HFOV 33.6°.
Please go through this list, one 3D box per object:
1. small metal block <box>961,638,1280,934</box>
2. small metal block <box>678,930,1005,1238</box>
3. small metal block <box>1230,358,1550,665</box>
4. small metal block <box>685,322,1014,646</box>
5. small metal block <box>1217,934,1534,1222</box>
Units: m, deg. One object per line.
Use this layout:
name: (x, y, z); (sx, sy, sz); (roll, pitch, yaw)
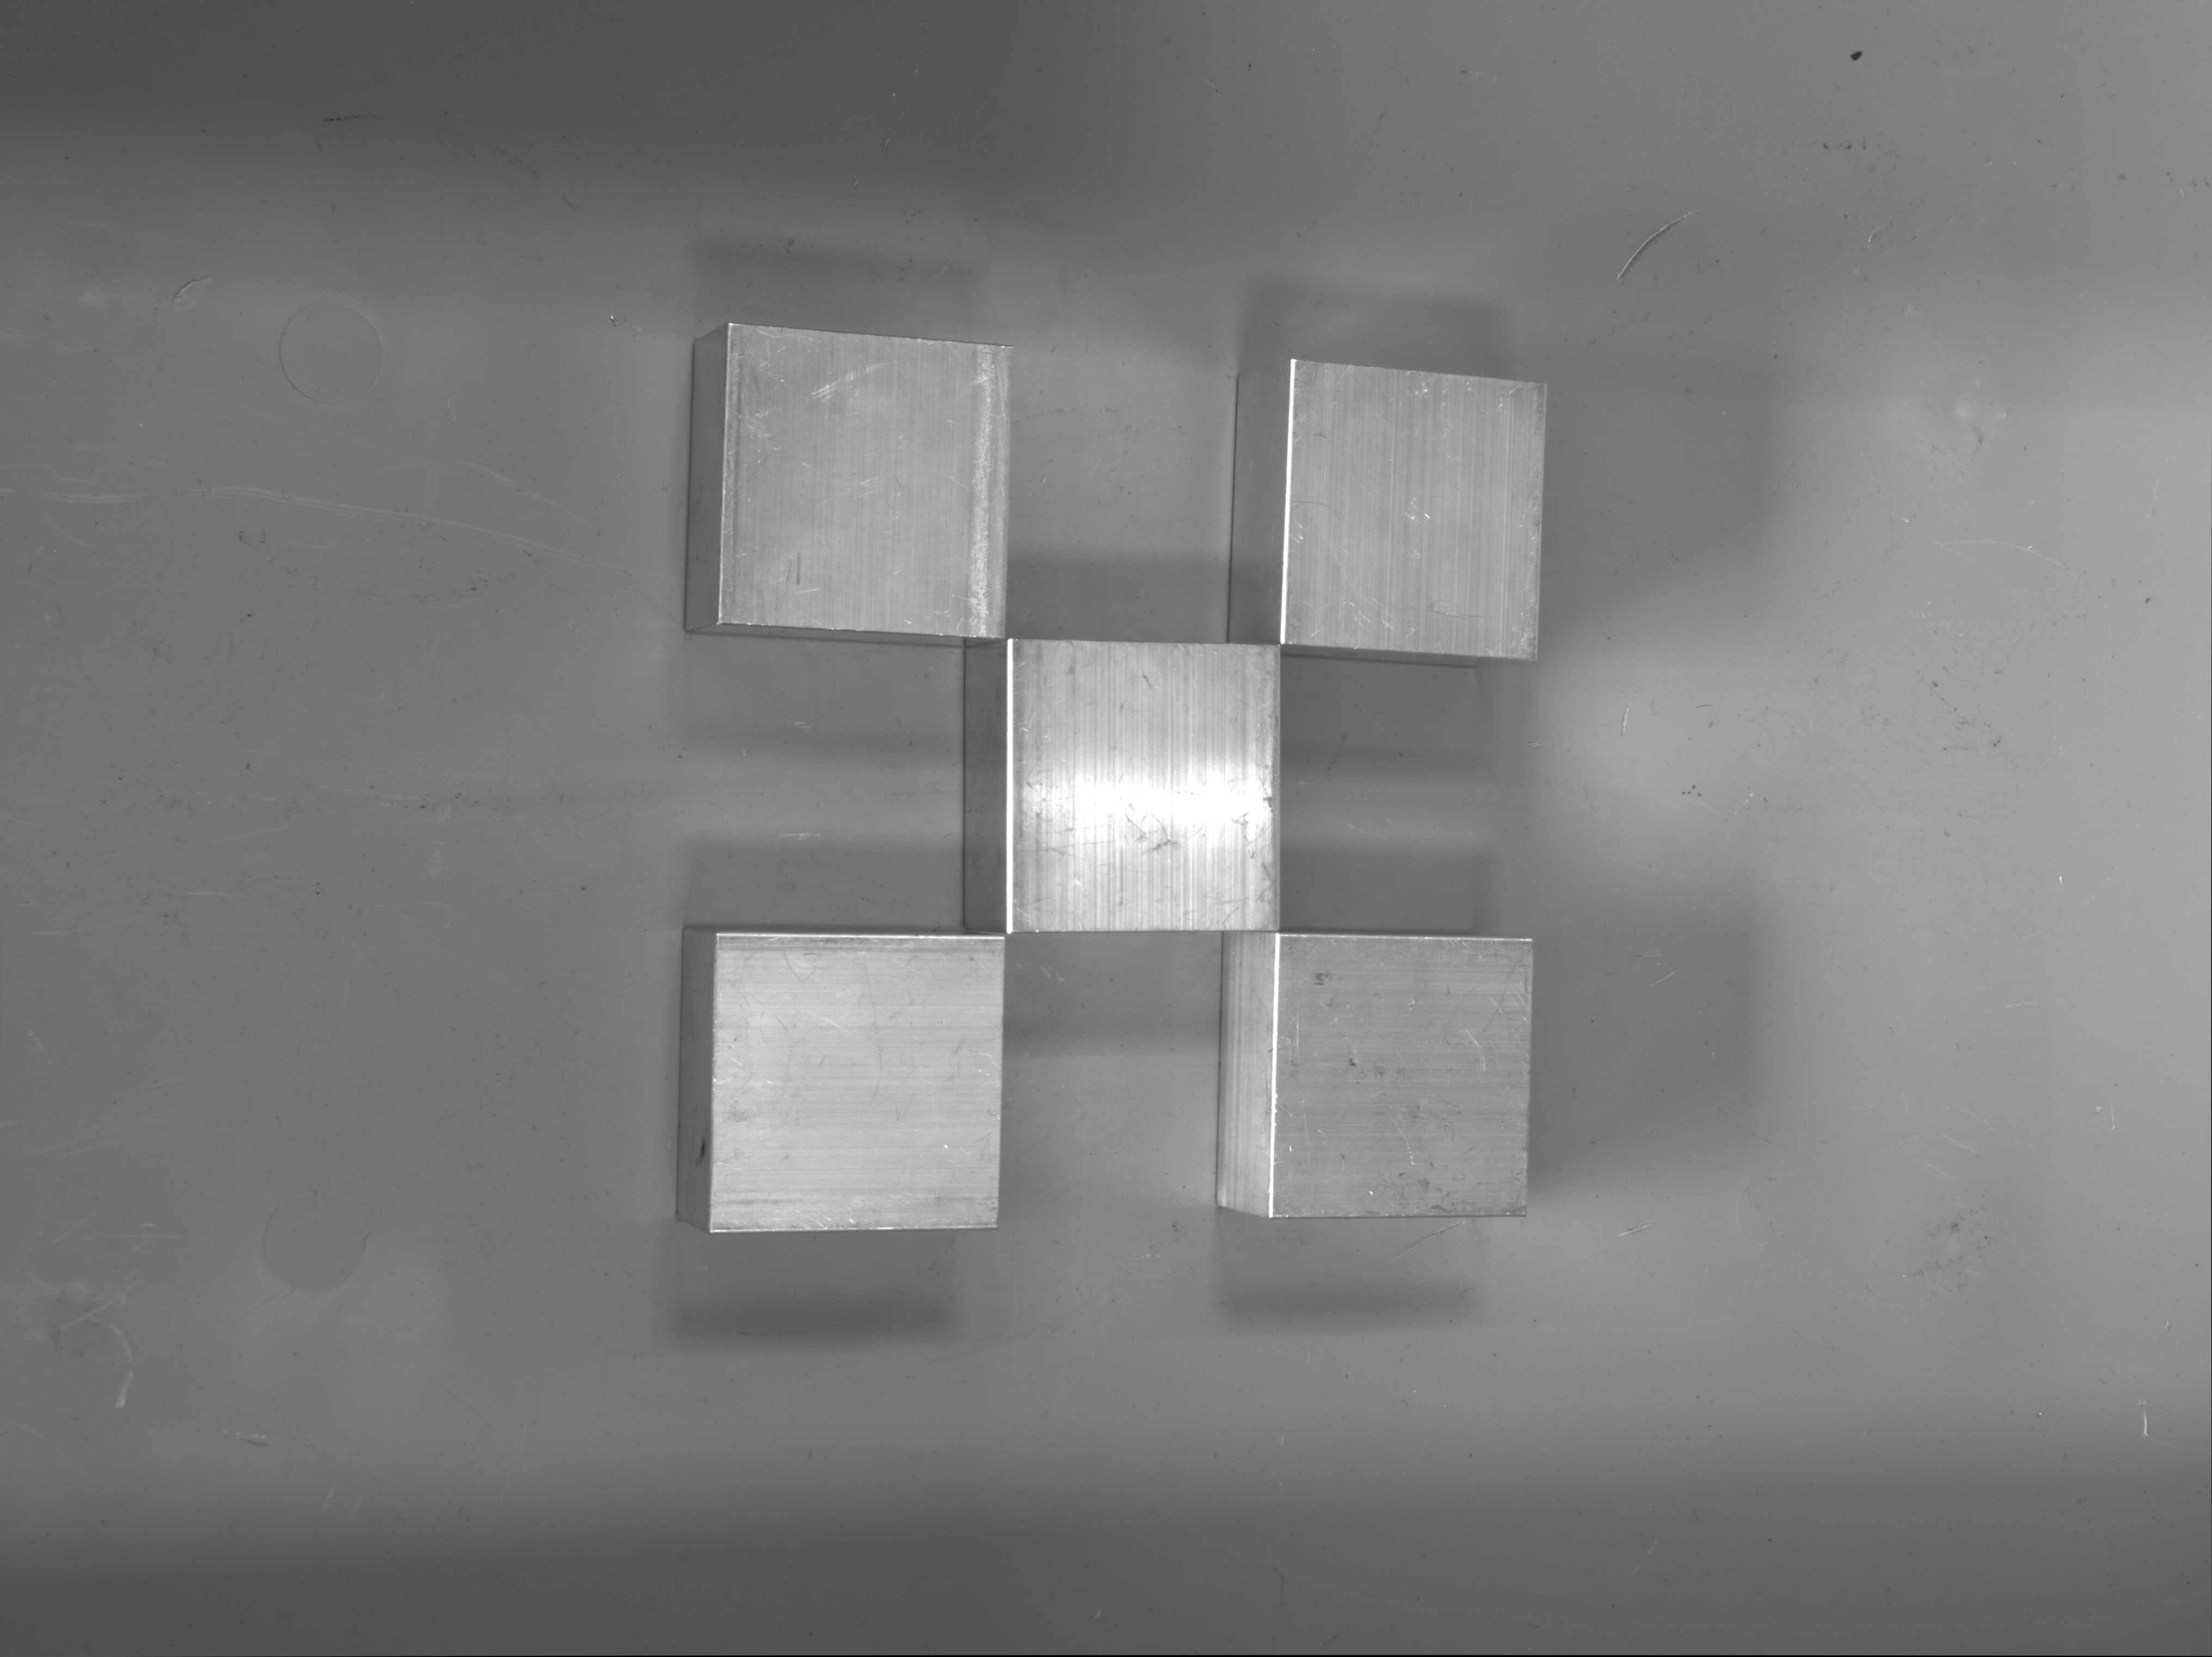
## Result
small metal block: (0.002, -0.007, 0.642); (0.050, 0.025, 0.050); (1, 90, -20)
small metal block: (-0.045, 0.043, 0.625); (0.050, 0.025, 0.050); (1, 90, -20)
small metal block: (0.051, -0.056, 0.659); (0.050, 0.025, 0.050); (3, 89, -20)
small metal block: (-0.044, -0.058, 0.625); (0.050, 0.025, 0.050); (2, 89, -20)
small metal block: (0.048, 0.044, 0.658); (0.050, 0.025, 0.050); (2, 89, -20)
